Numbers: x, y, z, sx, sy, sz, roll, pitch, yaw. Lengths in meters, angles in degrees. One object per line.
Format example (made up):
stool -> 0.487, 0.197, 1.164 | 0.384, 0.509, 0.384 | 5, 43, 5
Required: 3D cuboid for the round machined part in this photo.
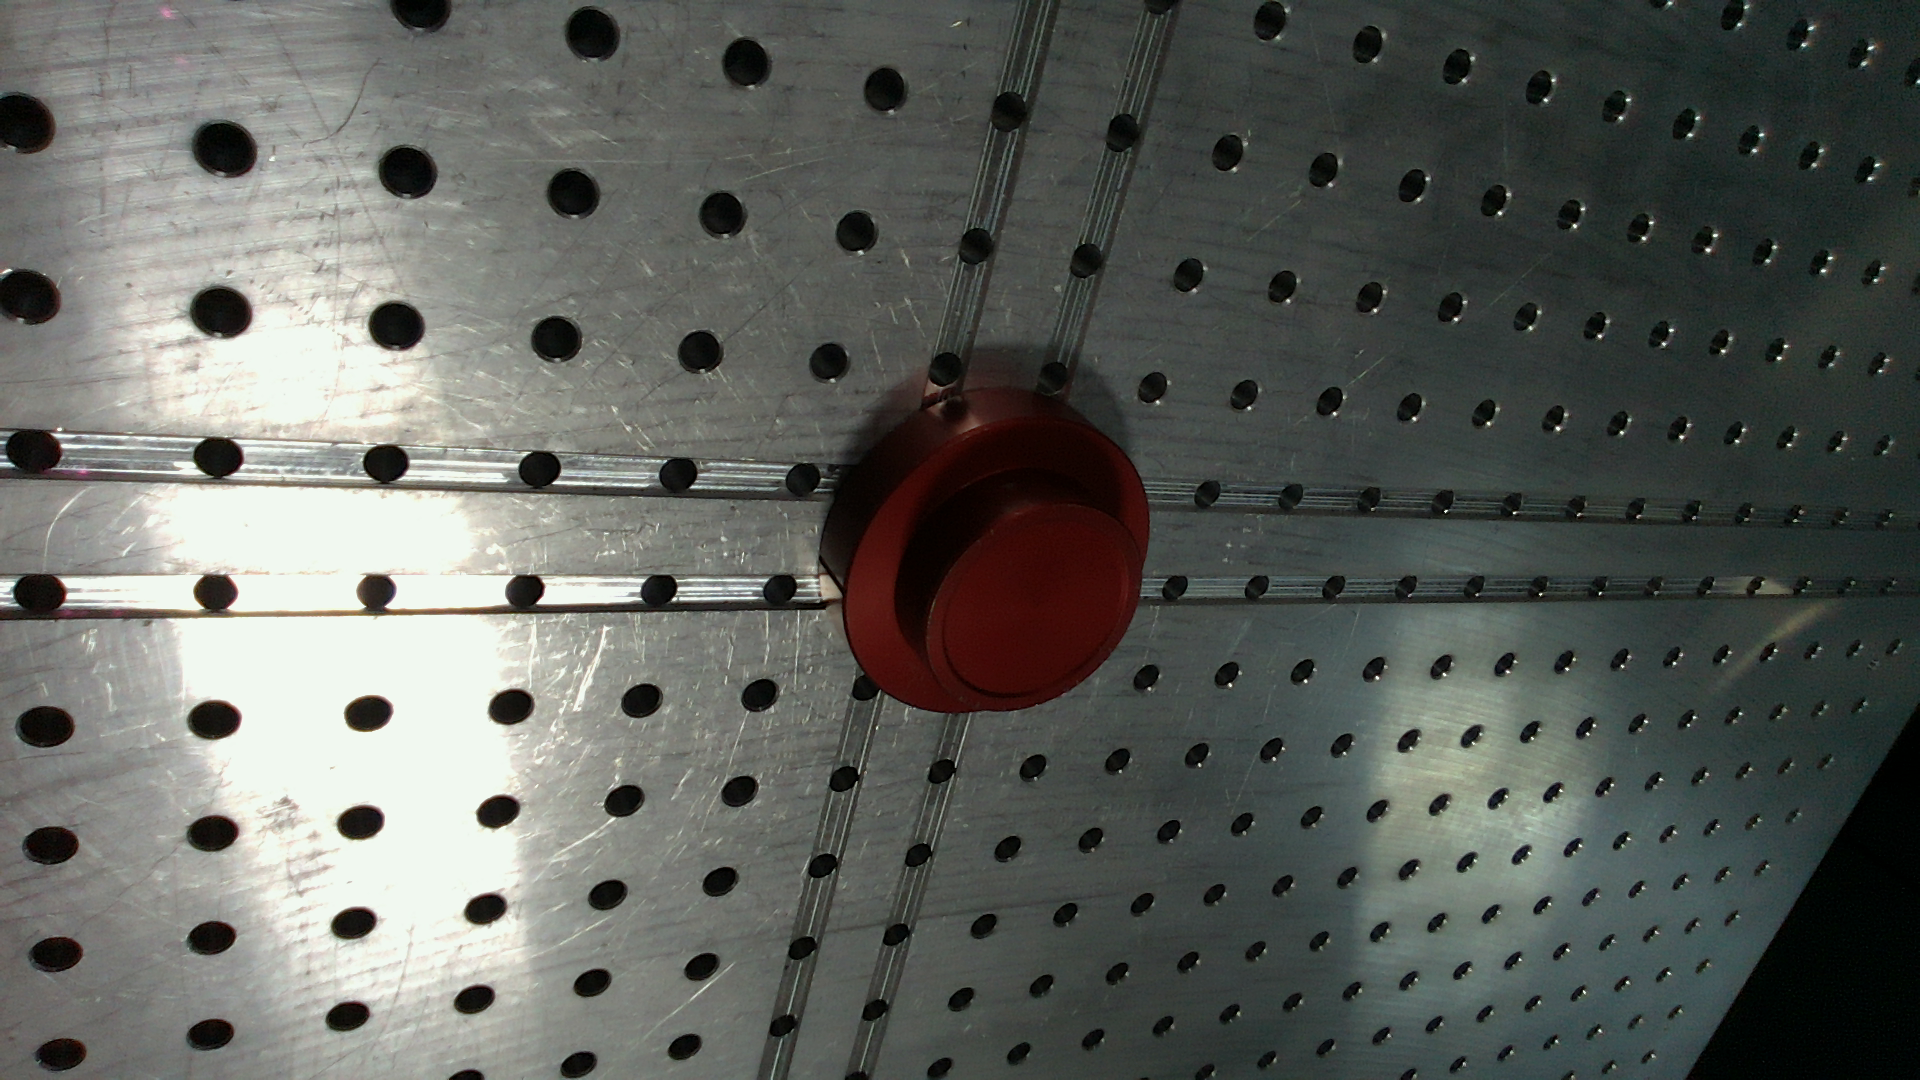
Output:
round machined part -> 0.012, 0.010, 0.393 | 0.098, 0.042, 0.098 | -14, 124, -21
